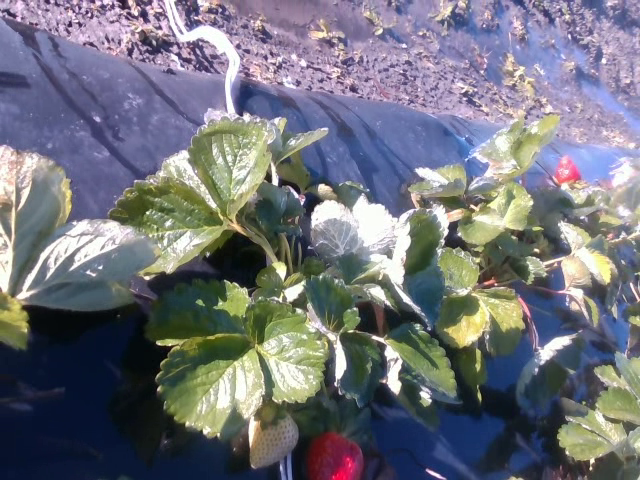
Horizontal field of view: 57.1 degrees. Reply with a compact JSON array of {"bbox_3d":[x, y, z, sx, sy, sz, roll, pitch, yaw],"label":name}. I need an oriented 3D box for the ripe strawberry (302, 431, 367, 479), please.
[{"bbox_3d":[0.019,0.179,0.448,0.040,0.062,0.080,-12,34,14],"label":"ripe strawberry"}]
